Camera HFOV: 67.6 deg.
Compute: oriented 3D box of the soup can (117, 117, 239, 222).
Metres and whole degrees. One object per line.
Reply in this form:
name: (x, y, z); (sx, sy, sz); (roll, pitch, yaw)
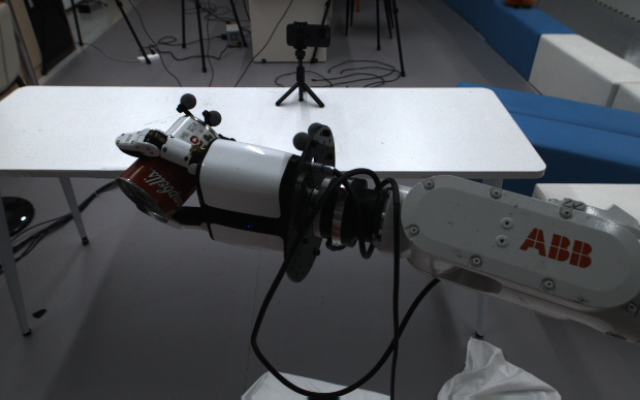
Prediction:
soup can: (-0.156, -0.034, 0.521); (0.067, 0.067, 0.101); (22, 61, 27)
